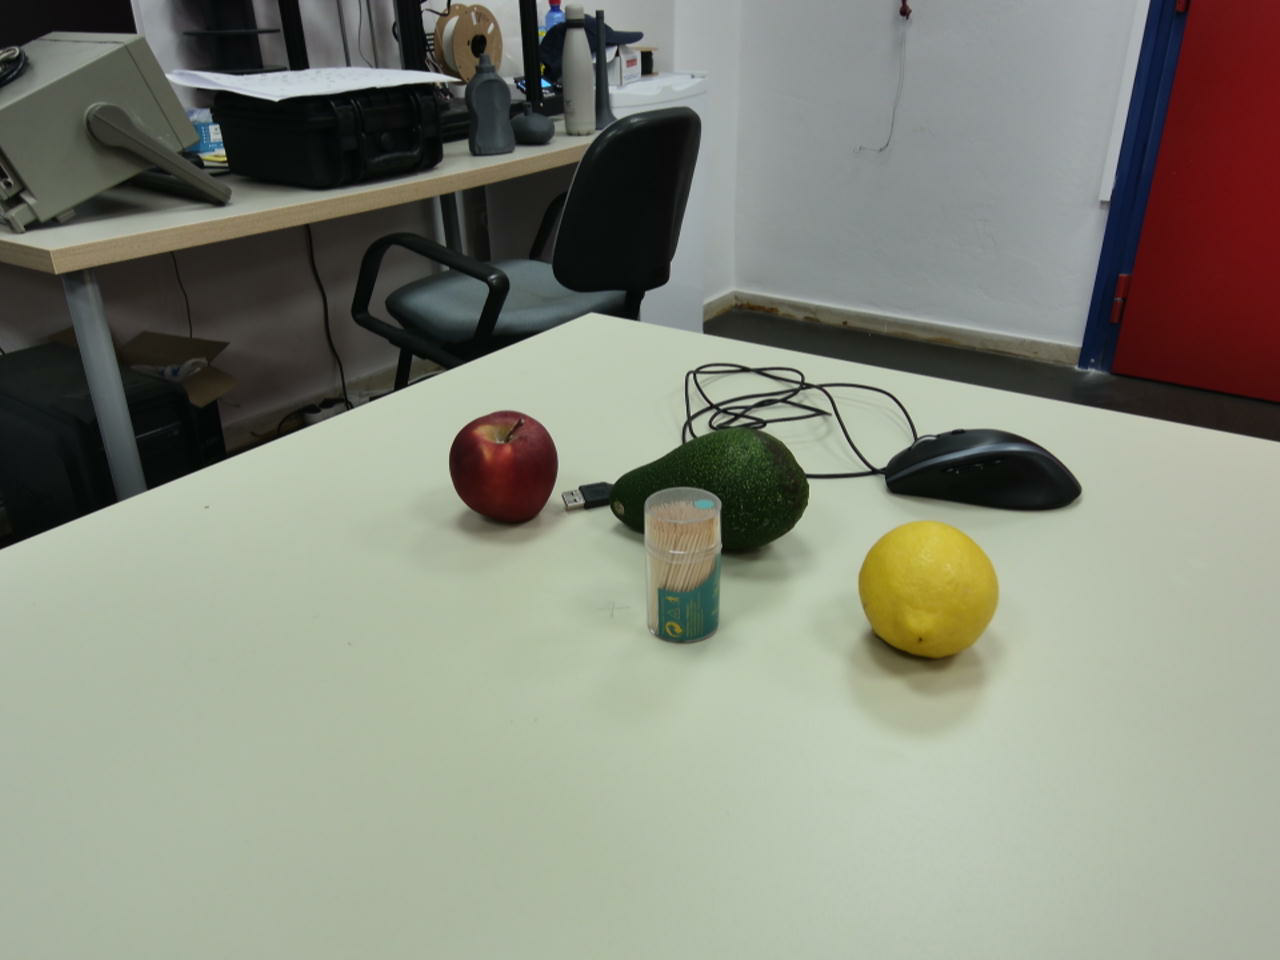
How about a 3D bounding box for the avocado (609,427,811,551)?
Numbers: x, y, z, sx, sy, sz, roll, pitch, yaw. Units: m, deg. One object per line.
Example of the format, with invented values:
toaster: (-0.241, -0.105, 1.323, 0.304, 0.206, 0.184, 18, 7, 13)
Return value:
avocado: (0.046, 0.002, 0.607, 0.123, 0.076, 0.074, 20, 32, 38)
